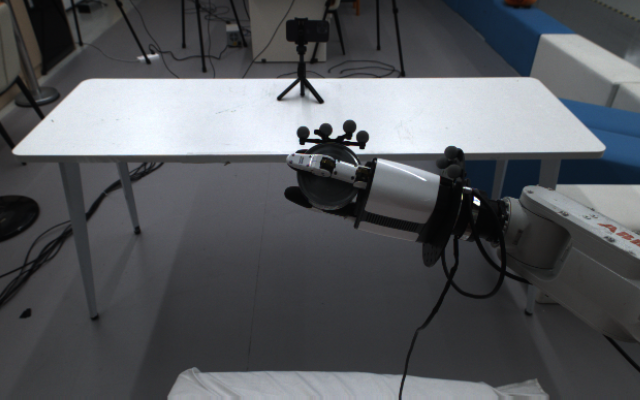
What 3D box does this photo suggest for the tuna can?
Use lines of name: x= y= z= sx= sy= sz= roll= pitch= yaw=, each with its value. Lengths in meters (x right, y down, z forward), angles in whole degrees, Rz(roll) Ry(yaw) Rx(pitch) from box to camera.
tuna can: x=0.014 y=-0.032 z=0.635 sx=0.085 sy=0.034 sz=0.085 roll=0 pitch=74 yaw=0
